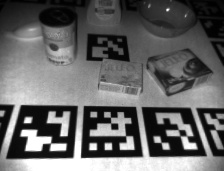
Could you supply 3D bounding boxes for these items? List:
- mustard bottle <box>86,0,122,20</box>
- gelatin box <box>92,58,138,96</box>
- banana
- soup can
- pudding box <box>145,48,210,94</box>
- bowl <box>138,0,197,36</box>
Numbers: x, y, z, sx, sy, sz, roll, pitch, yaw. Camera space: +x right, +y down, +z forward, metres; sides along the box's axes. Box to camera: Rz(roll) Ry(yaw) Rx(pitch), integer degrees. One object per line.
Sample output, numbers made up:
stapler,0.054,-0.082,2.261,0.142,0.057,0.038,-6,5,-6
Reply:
mustard bottle,-0.016,-0.259,0.528,0.096,0.192,0.058,2,47,-5
gelatin box,0.008,-0.020,0.453,0.089,0.030,0.073,7,53,-1
banana,-0.169,-0.177,0.554,0.073,0.039,0.199,30,52,29
soup can,-0.122,-0.115,0.456,0.068,0.102,0.067,5,48,-5
pudding box,0.144,-0.039,0.482,0.115,0.039,0.089,-17,60,-20
bowl,0.147,-0.187,0.598,0.162,0.055,0.161,3,50,-3
